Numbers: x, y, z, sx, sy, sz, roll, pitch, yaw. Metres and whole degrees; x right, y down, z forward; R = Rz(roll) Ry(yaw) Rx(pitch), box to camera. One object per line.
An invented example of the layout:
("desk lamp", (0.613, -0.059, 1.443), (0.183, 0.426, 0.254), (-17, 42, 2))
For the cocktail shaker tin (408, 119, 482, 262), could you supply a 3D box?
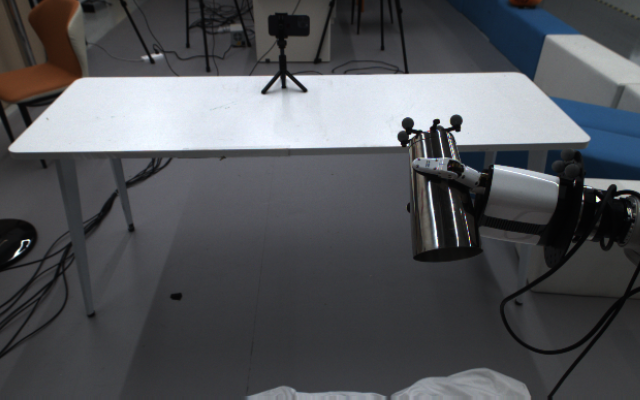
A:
("cocktail shaker tin", (0.166, -0.007, 0.672), (0.093, 0.093, 0.170), (-2, 71, -6))
